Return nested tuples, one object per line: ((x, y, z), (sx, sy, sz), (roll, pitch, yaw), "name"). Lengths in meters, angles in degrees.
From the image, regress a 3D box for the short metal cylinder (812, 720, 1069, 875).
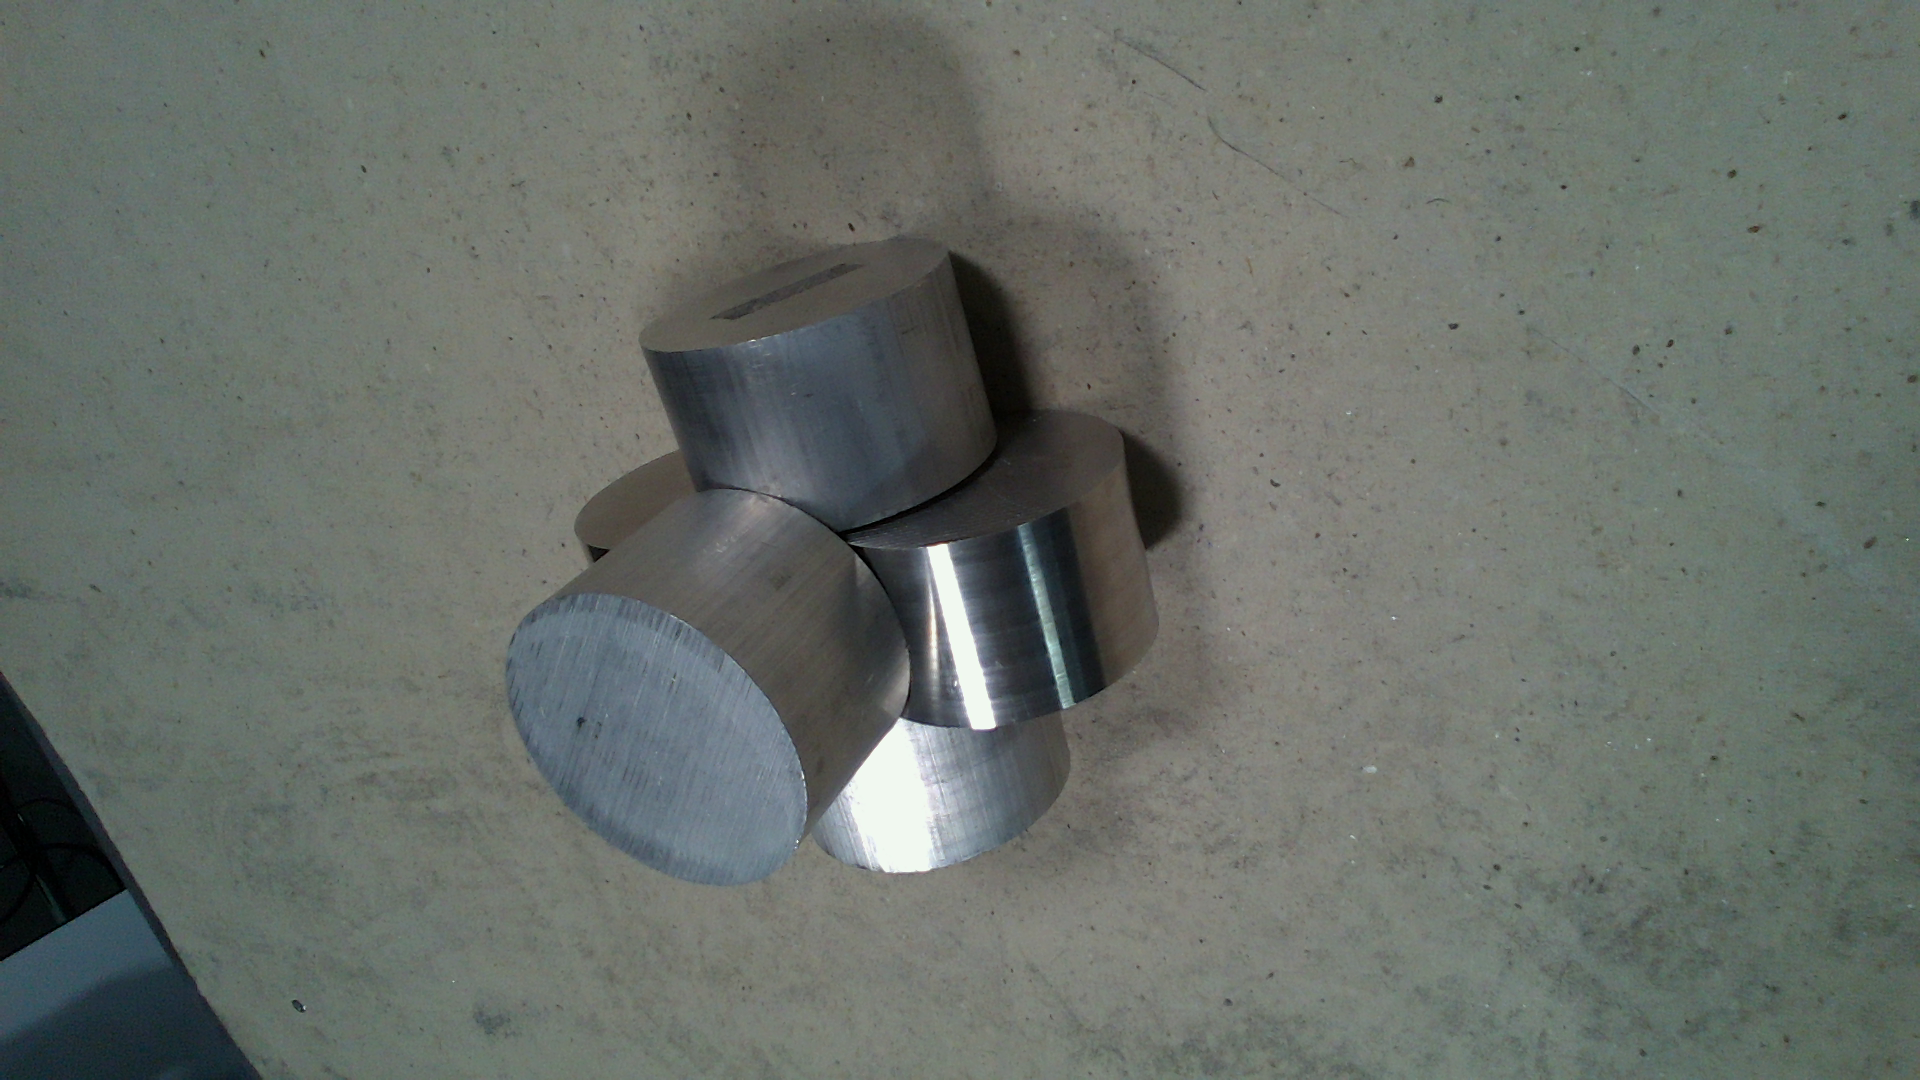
((-0.012, 0.050, 0.395), (0.080, 0.080, 0.050), (0, 118, 28), "short metal cylinder")

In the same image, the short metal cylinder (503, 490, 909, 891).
((-0.059, 0.035, 0.326), (0.080, 0.050, 0.080), (13, 124, 21), "short metal cylinder")

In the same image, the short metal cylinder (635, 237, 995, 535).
((-0.036, -0.040, 0.352), (0.080, 0.080, 0.050), (-2, 118, 29), "short metal cylinder")

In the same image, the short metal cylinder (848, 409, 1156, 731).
((0.007, 0.005, 0.357), (0.080, 0.080, 0.050), (0, 118, 29), "short metal cylinder")

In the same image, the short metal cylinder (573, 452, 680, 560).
((-0.063, 0.006, 0.395), (0.080, 0.080, 0.050), (-1, 118, 29), "short metal cylinder")
